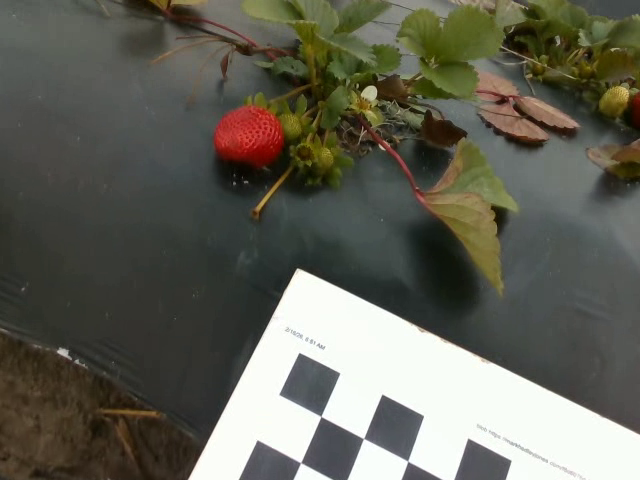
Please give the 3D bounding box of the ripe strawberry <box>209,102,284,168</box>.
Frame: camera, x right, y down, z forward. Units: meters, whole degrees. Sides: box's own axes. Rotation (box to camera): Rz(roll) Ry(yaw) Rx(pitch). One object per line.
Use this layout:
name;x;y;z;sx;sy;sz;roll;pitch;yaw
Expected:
ripe strawberry;-0.013;-0.018;0.105;0.018;0.014;0.017;33;28;0
